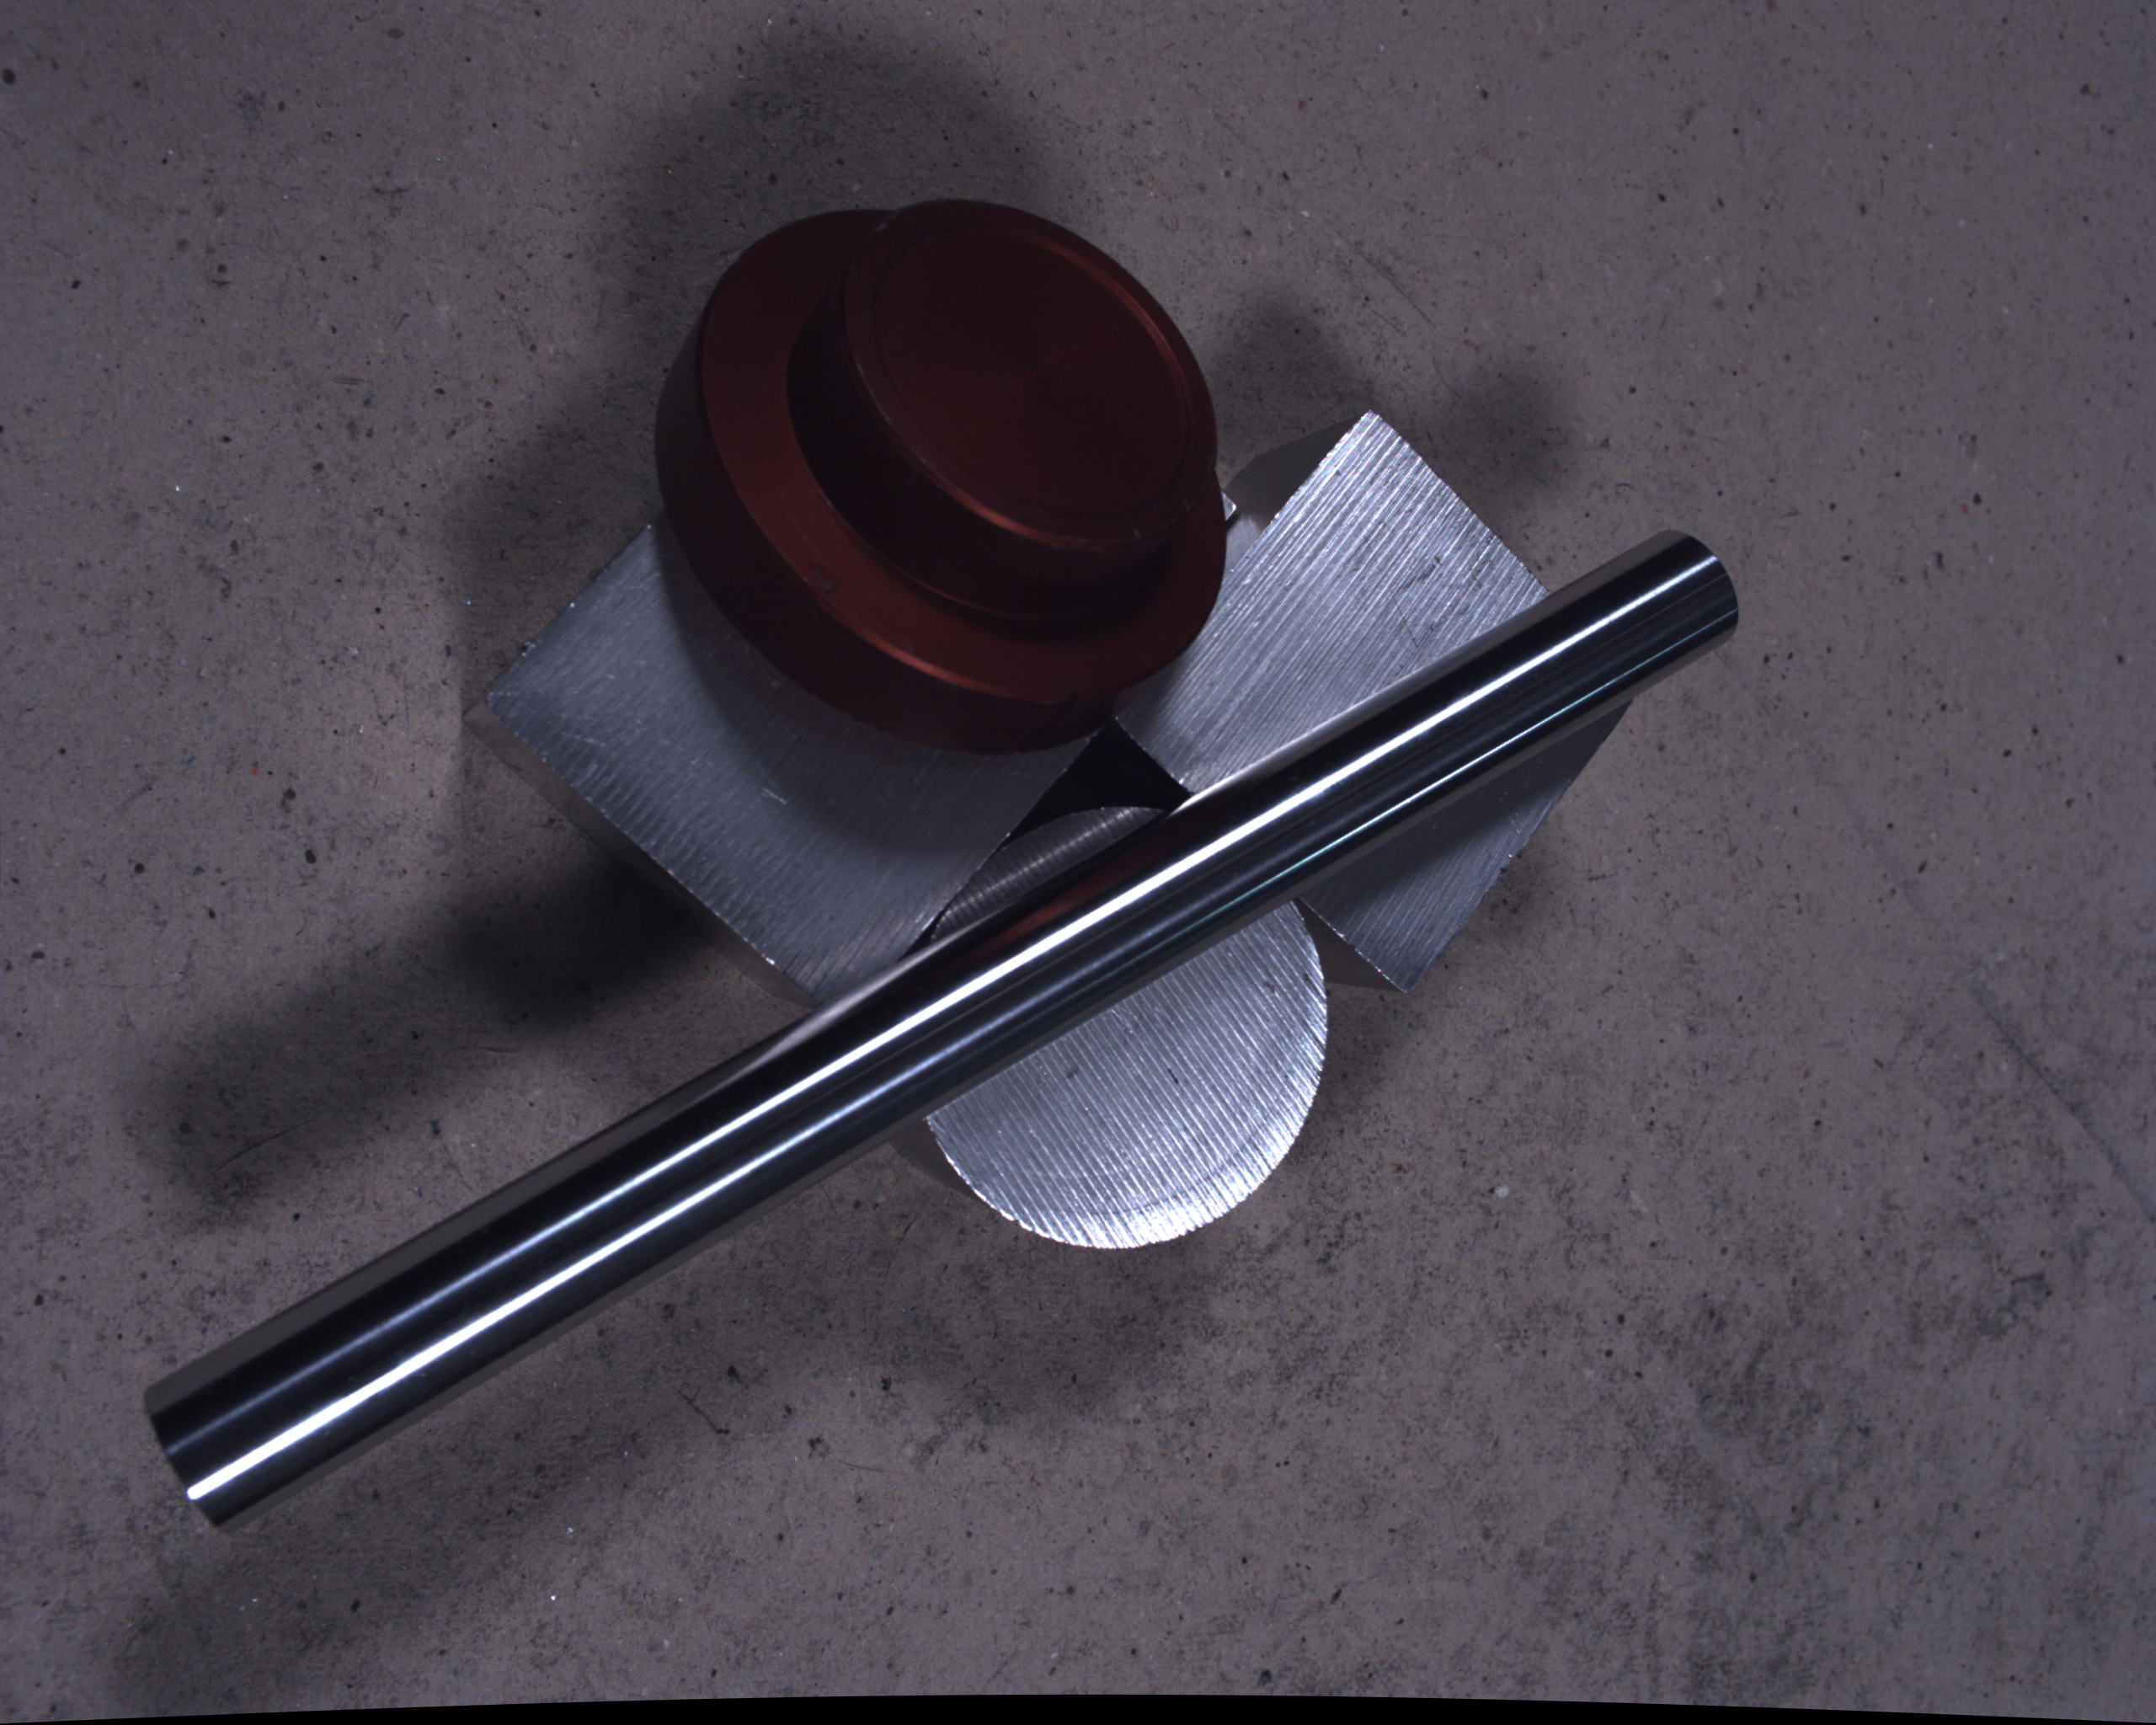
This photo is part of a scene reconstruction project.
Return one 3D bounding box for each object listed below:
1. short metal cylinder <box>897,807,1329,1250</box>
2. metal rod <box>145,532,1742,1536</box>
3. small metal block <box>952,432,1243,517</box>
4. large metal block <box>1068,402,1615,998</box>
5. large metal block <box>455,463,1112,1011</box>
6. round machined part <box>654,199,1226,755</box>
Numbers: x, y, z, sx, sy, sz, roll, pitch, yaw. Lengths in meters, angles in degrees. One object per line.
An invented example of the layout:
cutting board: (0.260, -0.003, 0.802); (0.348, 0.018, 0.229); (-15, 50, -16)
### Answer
short metal cylinder: (0.000, 0.030, 0.397); (0.081, 0.050, 0.079); (0, 90, -21)
metal rod: (-0.007, 0.018, 0.355); (0.302, 0.025, 0.025); (-29, 100, -18)
small metal block: (-0.005, -0.069, 0.408); (0.050, 0.025, 0.050); (45, 76, -15)
large metal block: (0.050, -0.031, 0.417); (0.080, 0.050, 0.080); (43, 76, -15)
large metal block: (-0.052, -0.029, 0.377); (0.080, 0.050, 0.080); (44, 76, -15)
round machined part: (-0.016, -0.070, 0.349); (0.099, 0.042, 0.098); (15, 57, -25)
